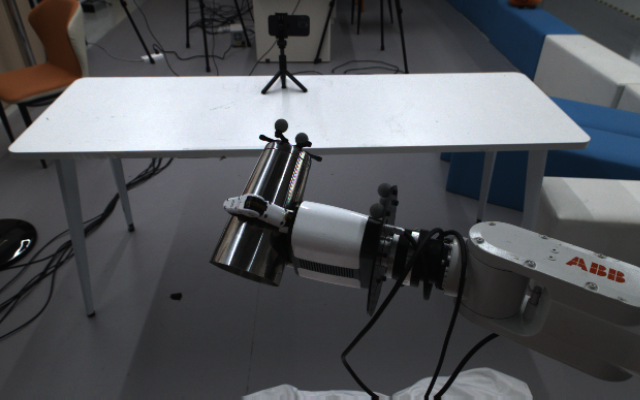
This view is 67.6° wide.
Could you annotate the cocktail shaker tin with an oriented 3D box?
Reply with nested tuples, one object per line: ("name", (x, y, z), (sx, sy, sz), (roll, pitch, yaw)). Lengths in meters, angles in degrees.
("cocktail shaker tin", (-0.068, 0.016, 0.621), (0.093, 0.093, 0.170), (14, 73, 17))
